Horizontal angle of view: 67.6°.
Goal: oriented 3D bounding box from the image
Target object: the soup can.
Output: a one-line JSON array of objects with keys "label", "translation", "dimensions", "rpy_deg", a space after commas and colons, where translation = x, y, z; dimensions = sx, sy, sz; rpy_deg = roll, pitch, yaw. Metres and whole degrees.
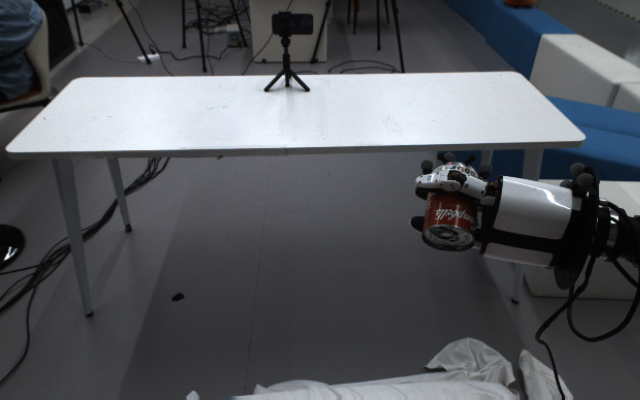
[{"label": "soup can", "translation": [0.176, 0.007, 0.643], "dimensions": [0.067, 0.067, 0.101], "rpy_deg": [9, 58, 10]}]
